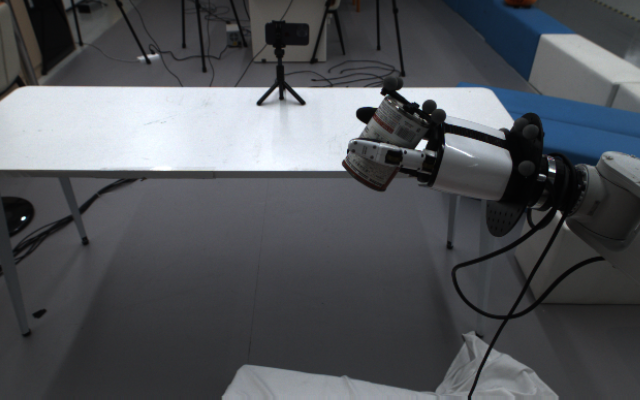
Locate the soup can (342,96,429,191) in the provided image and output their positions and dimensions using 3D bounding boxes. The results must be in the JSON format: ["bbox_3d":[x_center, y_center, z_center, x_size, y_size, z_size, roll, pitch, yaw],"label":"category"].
[{"bbox_3d":[0.084,-0.071,0.610,0.067,0.101,0.067,28,22,-12],"label":"soup can"}]
